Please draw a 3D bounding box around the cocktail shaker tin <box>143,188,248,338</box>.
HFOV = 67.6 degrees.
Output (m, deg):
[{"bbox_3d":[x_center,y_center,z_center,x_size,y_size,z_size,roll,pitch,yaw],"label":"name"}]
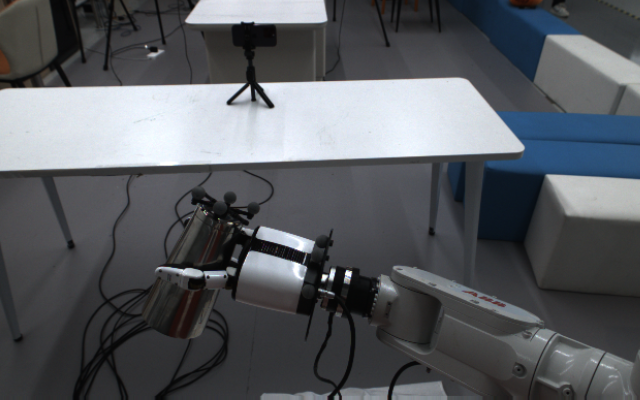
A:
[{"bbox_3d":[-0.166,0.090,0.661,0.093,0.170,0.093,24,12,-6],"label":"cocktail shaker tin"}]
